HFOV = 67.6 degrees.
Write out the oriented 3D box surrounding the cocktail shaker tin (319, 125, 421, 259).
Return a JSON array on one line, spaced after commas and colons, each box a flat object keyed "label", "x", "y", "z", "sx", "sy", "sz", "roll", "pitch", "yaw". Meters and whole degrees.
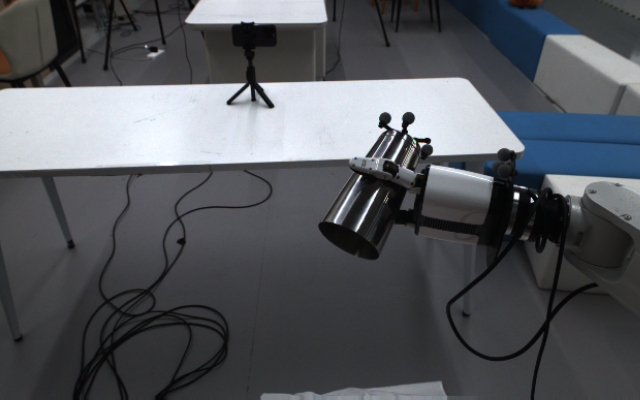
[{"label": "cocktail shaker tin", "x": 0.080, "y": -0.016, "z": 0.675, "sx": 0.093, "sy": 0.093, "sz": 0.170, "roll": 20, "pitch": 67, "yaw": 24}]
